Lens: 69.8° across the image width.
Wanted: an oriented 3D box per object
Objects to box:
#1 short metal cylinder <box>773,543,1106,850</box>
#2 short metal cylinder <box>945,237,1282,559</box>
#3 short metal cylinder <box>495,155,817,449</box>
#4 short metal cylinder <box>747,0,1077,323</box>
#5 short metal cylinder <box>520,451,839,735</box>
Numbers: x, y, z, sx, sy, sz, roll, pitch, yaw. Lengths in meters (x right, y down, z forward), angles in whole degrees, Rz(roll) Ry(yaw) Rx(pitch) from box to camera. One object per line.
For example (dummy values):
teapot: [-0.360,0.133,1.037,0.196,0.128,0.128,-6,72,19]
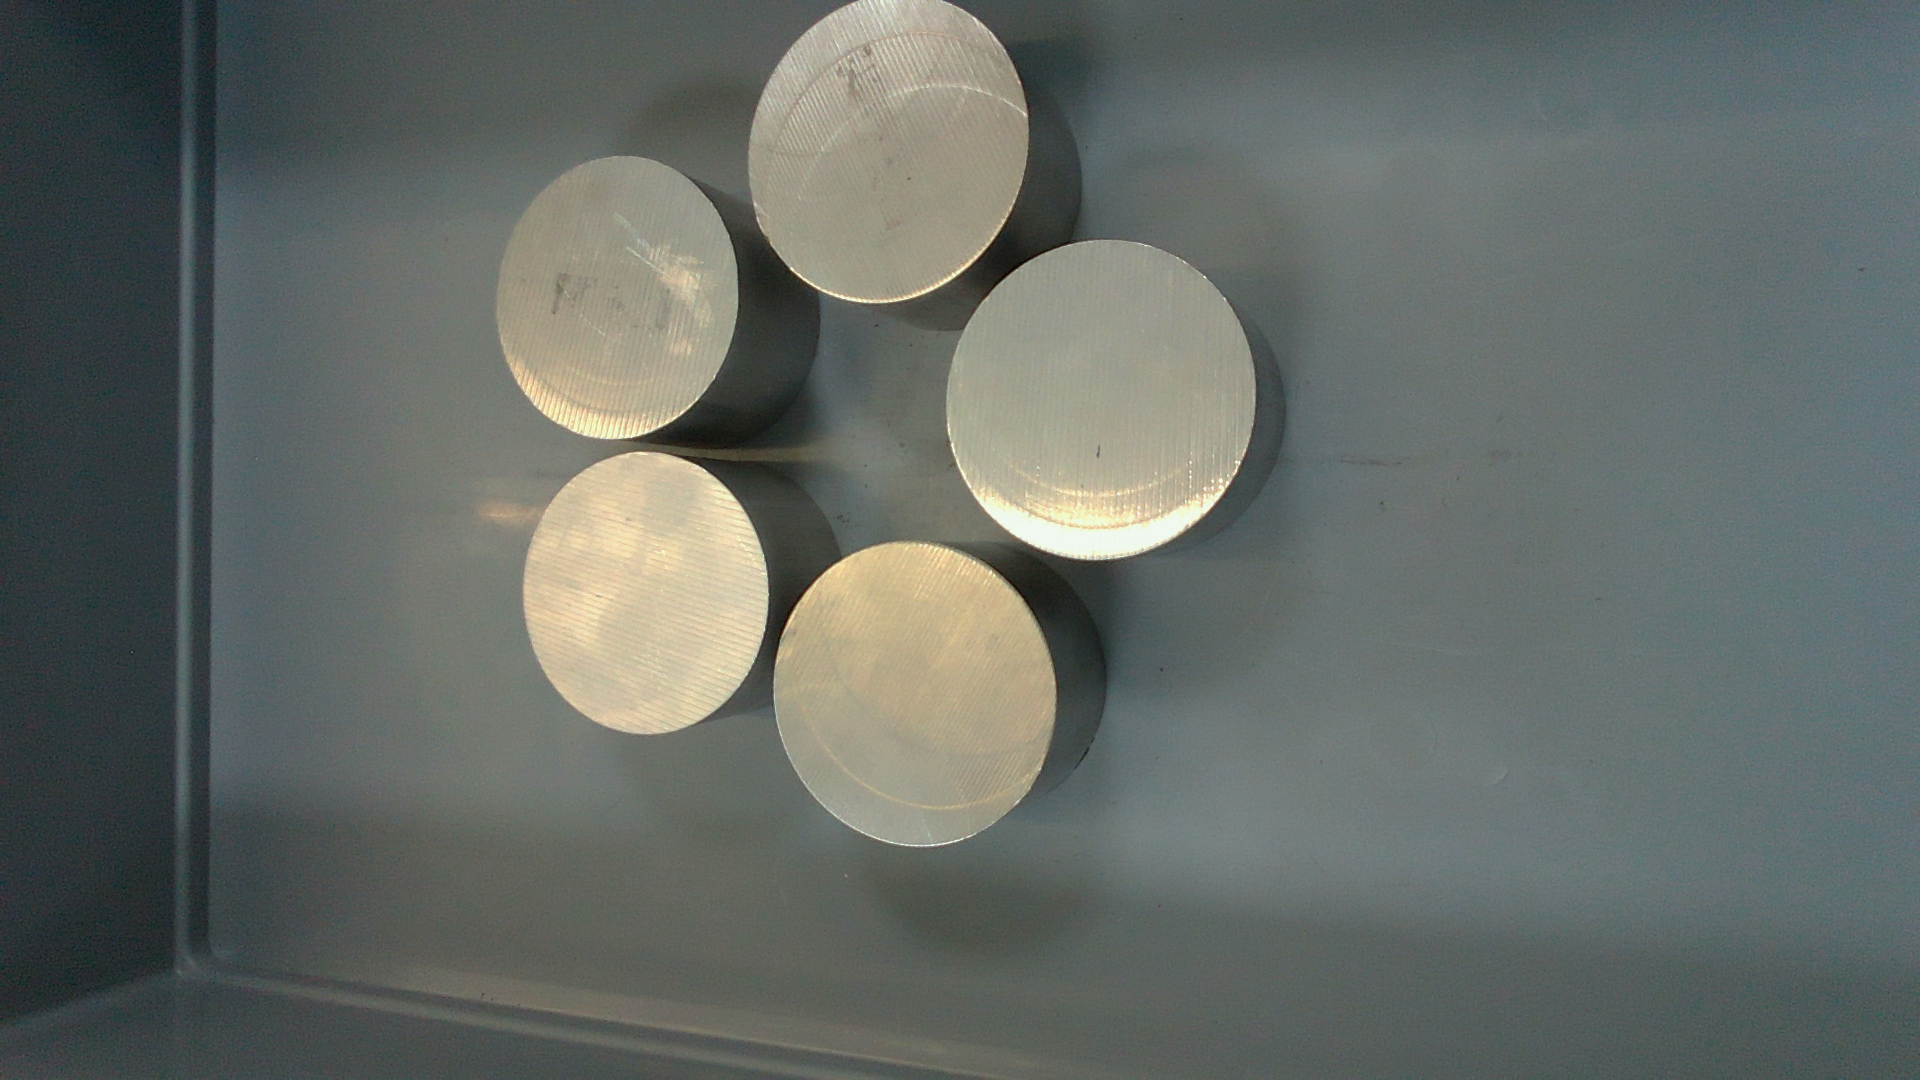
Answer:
short metal cylinder: [-0.005,0.041,0.383,0.080,0.050,0.080,0,90,20]
short metal cylinder: [0.042,-0.035,0.366,0.080,0.050,0.080,0,90,20]
short metal cylinder: [-0.090,-0.069,0.413,0.080,0.050,0.080,0,90,20]
short metal cylinder: [-0.012,-0.103,0.385,0.080,0.050,0.080,0,90,20]
short metal cylinder: [-0.082,0.015,0.410,0.080,0.050,0.080,0,90,20]
